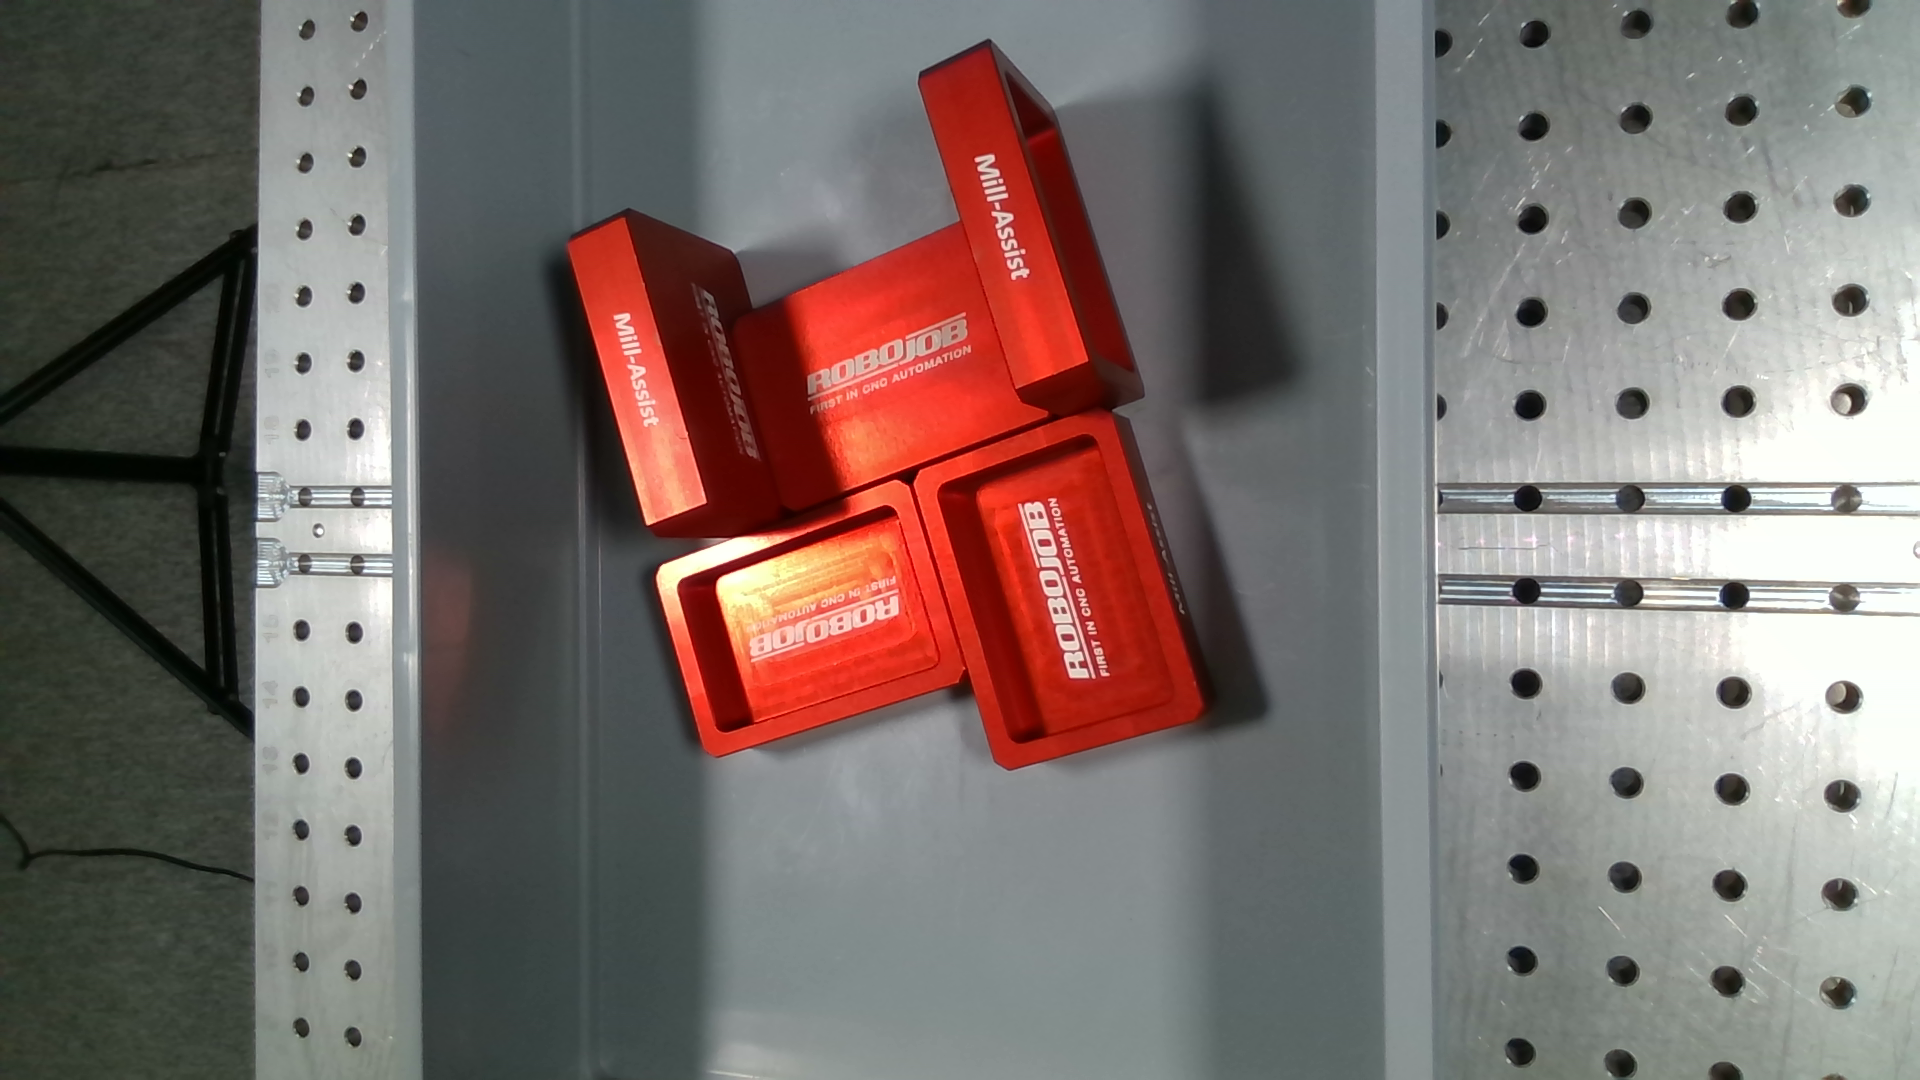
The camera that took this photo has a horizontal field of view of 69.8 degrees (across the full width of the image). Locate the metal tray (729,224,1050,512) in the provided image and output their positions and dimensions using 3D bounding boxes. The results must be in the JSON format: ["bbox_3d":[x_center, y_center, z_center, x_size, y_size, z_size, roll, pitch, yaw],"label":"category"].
[{"bbox_3d":[-0.027,-0.073,0.590,0.130,0.030,0.090,-19,84,19],"label":"metal tray"}]

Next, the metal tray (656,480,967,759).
[{"bbox_3d":[-0.062,0.036,0.605,0.130,0.030,0.090,-19,84,19],"label":"metal tray"}]

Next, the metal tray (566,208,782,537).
[{"bbox_3d":[-0.114,-0.067,0.590,0.030,0.090,0.130,-18,84,19],"label":"metal tray"}]

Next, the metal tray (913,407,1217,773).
[{"bbox_3d":[0.042,0.021,0.566,0.090,0.030,0.130,-18,84,19],"label":"metal tray"}]

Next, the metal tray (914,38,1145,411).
[{"bbox_3d":[0.029,-0.116,0.535,0.030,0.090,0.130,-19,84,19],"label":"metal tray"}]
